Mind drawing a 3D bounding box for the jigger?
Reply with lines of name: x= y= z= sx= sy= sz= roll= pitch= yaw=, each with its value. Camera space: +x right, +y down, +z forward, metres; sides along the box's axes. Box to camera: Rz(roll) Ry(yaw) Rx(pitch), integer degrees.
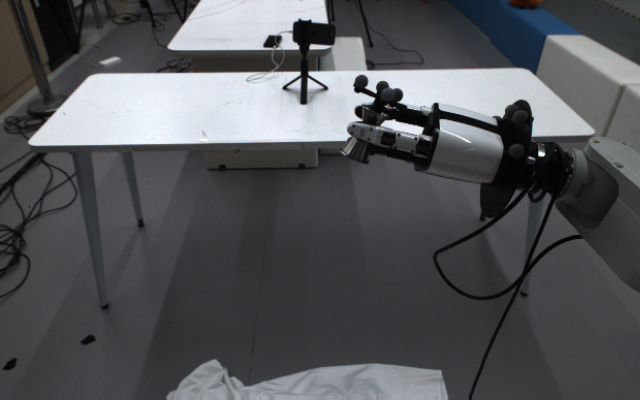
jigger: x=0.058 y=-0.088 z=0.643 sx=0.043 sy=0.071 sz=0.043 roll=23 pitch=19 yaw=-8
